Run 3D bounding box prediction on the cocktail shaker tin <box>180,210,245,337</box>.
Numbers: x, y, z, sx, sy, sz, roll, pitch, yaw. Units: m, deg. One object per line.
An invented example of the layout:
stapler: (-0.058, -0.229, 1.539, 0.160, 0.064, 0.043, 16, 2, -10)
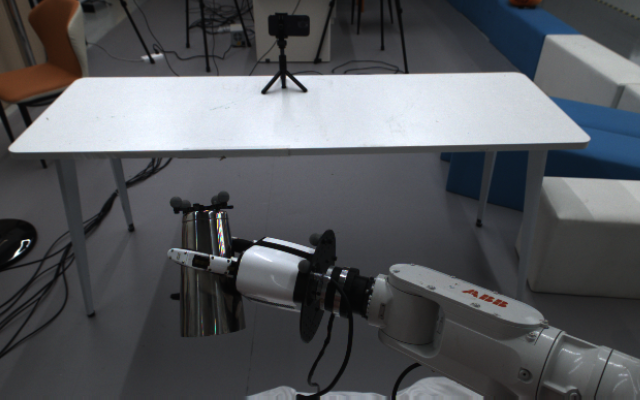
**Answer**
cocktail shaker tin: (-0.161, 0.104, 0.700, 0.093, 0.170, 0.093, -6, -7, -1)
